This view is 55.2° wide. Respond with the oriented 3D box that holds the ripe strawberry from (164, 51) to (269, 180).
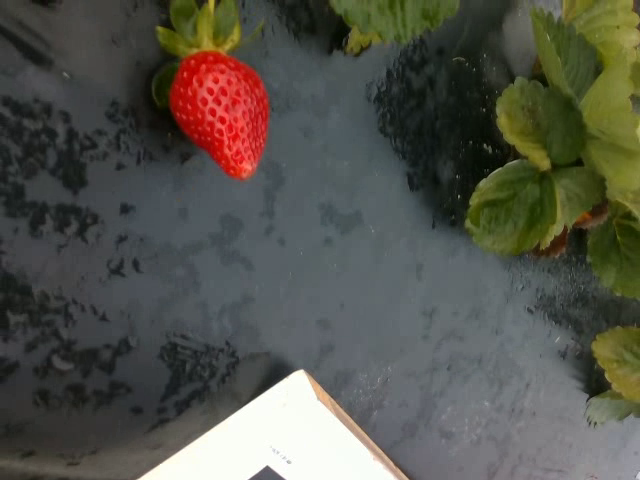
[{"bbox_3d":[-0.036,-0.047,0.235,0.045,0.054,0.048,-2,-13,-21],"label":"ripe strawberry"}]
